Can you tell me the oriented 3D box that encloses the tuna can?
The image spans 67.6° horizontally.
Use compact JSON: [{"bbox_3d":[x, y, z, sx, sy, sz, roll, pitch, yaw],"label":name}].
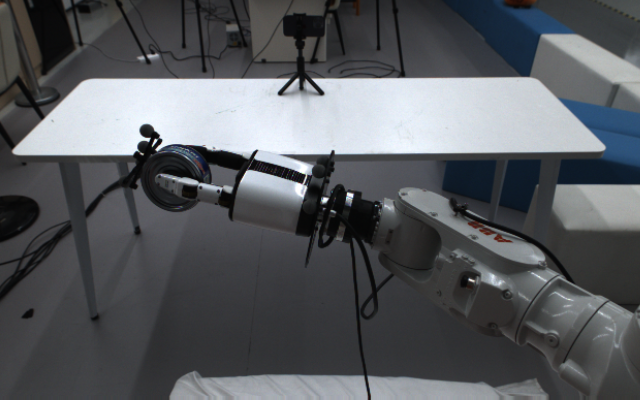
[{"bbox_3d":[-0.188,-0.028,0.638,0.085,0.085,0.034,4,22,3],"label":"tuna can"}]
